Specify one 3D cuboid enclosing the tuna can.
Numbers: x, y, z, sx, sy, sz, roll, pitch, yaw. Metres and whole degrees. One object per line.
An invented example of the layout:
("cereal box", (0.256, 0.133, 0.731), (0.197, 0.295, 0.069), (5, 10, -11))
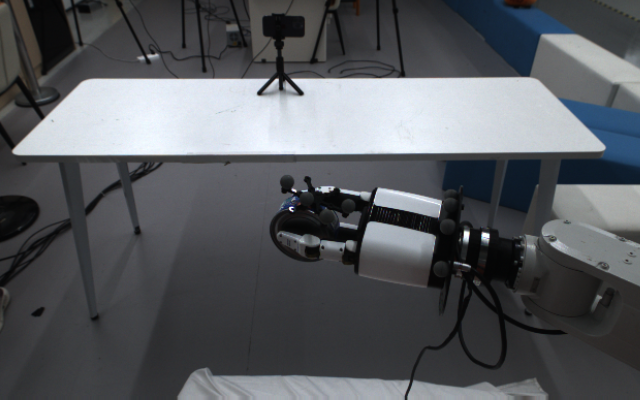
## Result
("tuna can", (-0.017, 0.036, 0.622), (0.085, 0.085, 0.034), (9, 35, 10))
